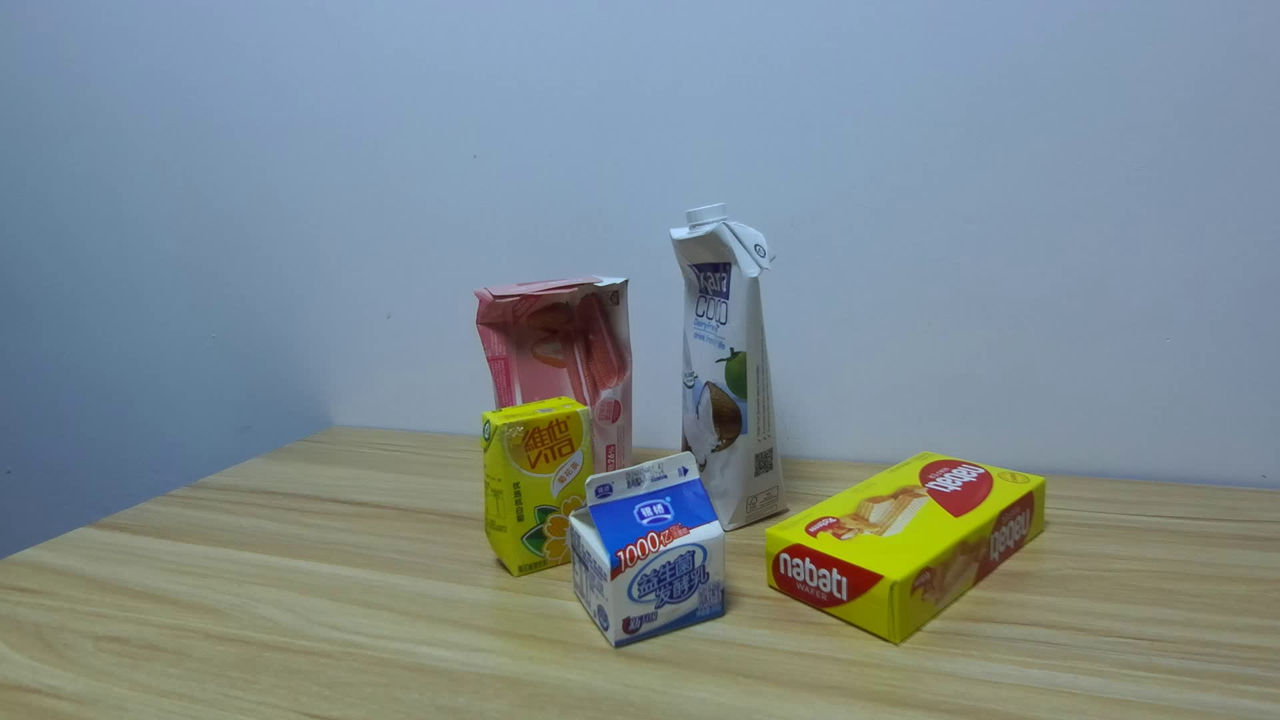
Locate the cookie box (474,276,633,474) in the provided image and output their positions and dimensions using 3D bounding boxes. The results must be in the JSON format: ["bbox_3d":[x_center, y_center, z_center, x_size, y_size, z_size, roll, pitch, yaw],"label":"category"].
[{"bbox_3d":[-0.065,0.029,0.581,0.119,0.184,0.055,-10,14,-23],"label":"cookie box"}]

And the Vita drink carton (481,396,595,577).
[{"bbox_3d":[-0.072,0.086,0.489,0.077,0.109,0.043,-9,14,-27],"label":"Vita drink carton"}]

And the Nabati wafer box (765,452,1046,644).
[{"bbox_3d":[0.184,0.114,0.473,0.204,0.042,0.092,-12,15,-39],"label":"Nabati wafer box"}]

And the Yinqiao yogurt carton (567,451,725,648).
[{"bbox_3d":[0.002,0.104,0.422,0.076,0.092,0.073,-9,14,-22],"label":"Yinqiao yogurt carton"}]

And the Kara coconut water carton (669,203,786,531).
[{"bbox_3d":[0.065,0.003,0.536,0.069,0.238,0.114,-11,15,-27],"label":"Kara coconut water carton"}]
